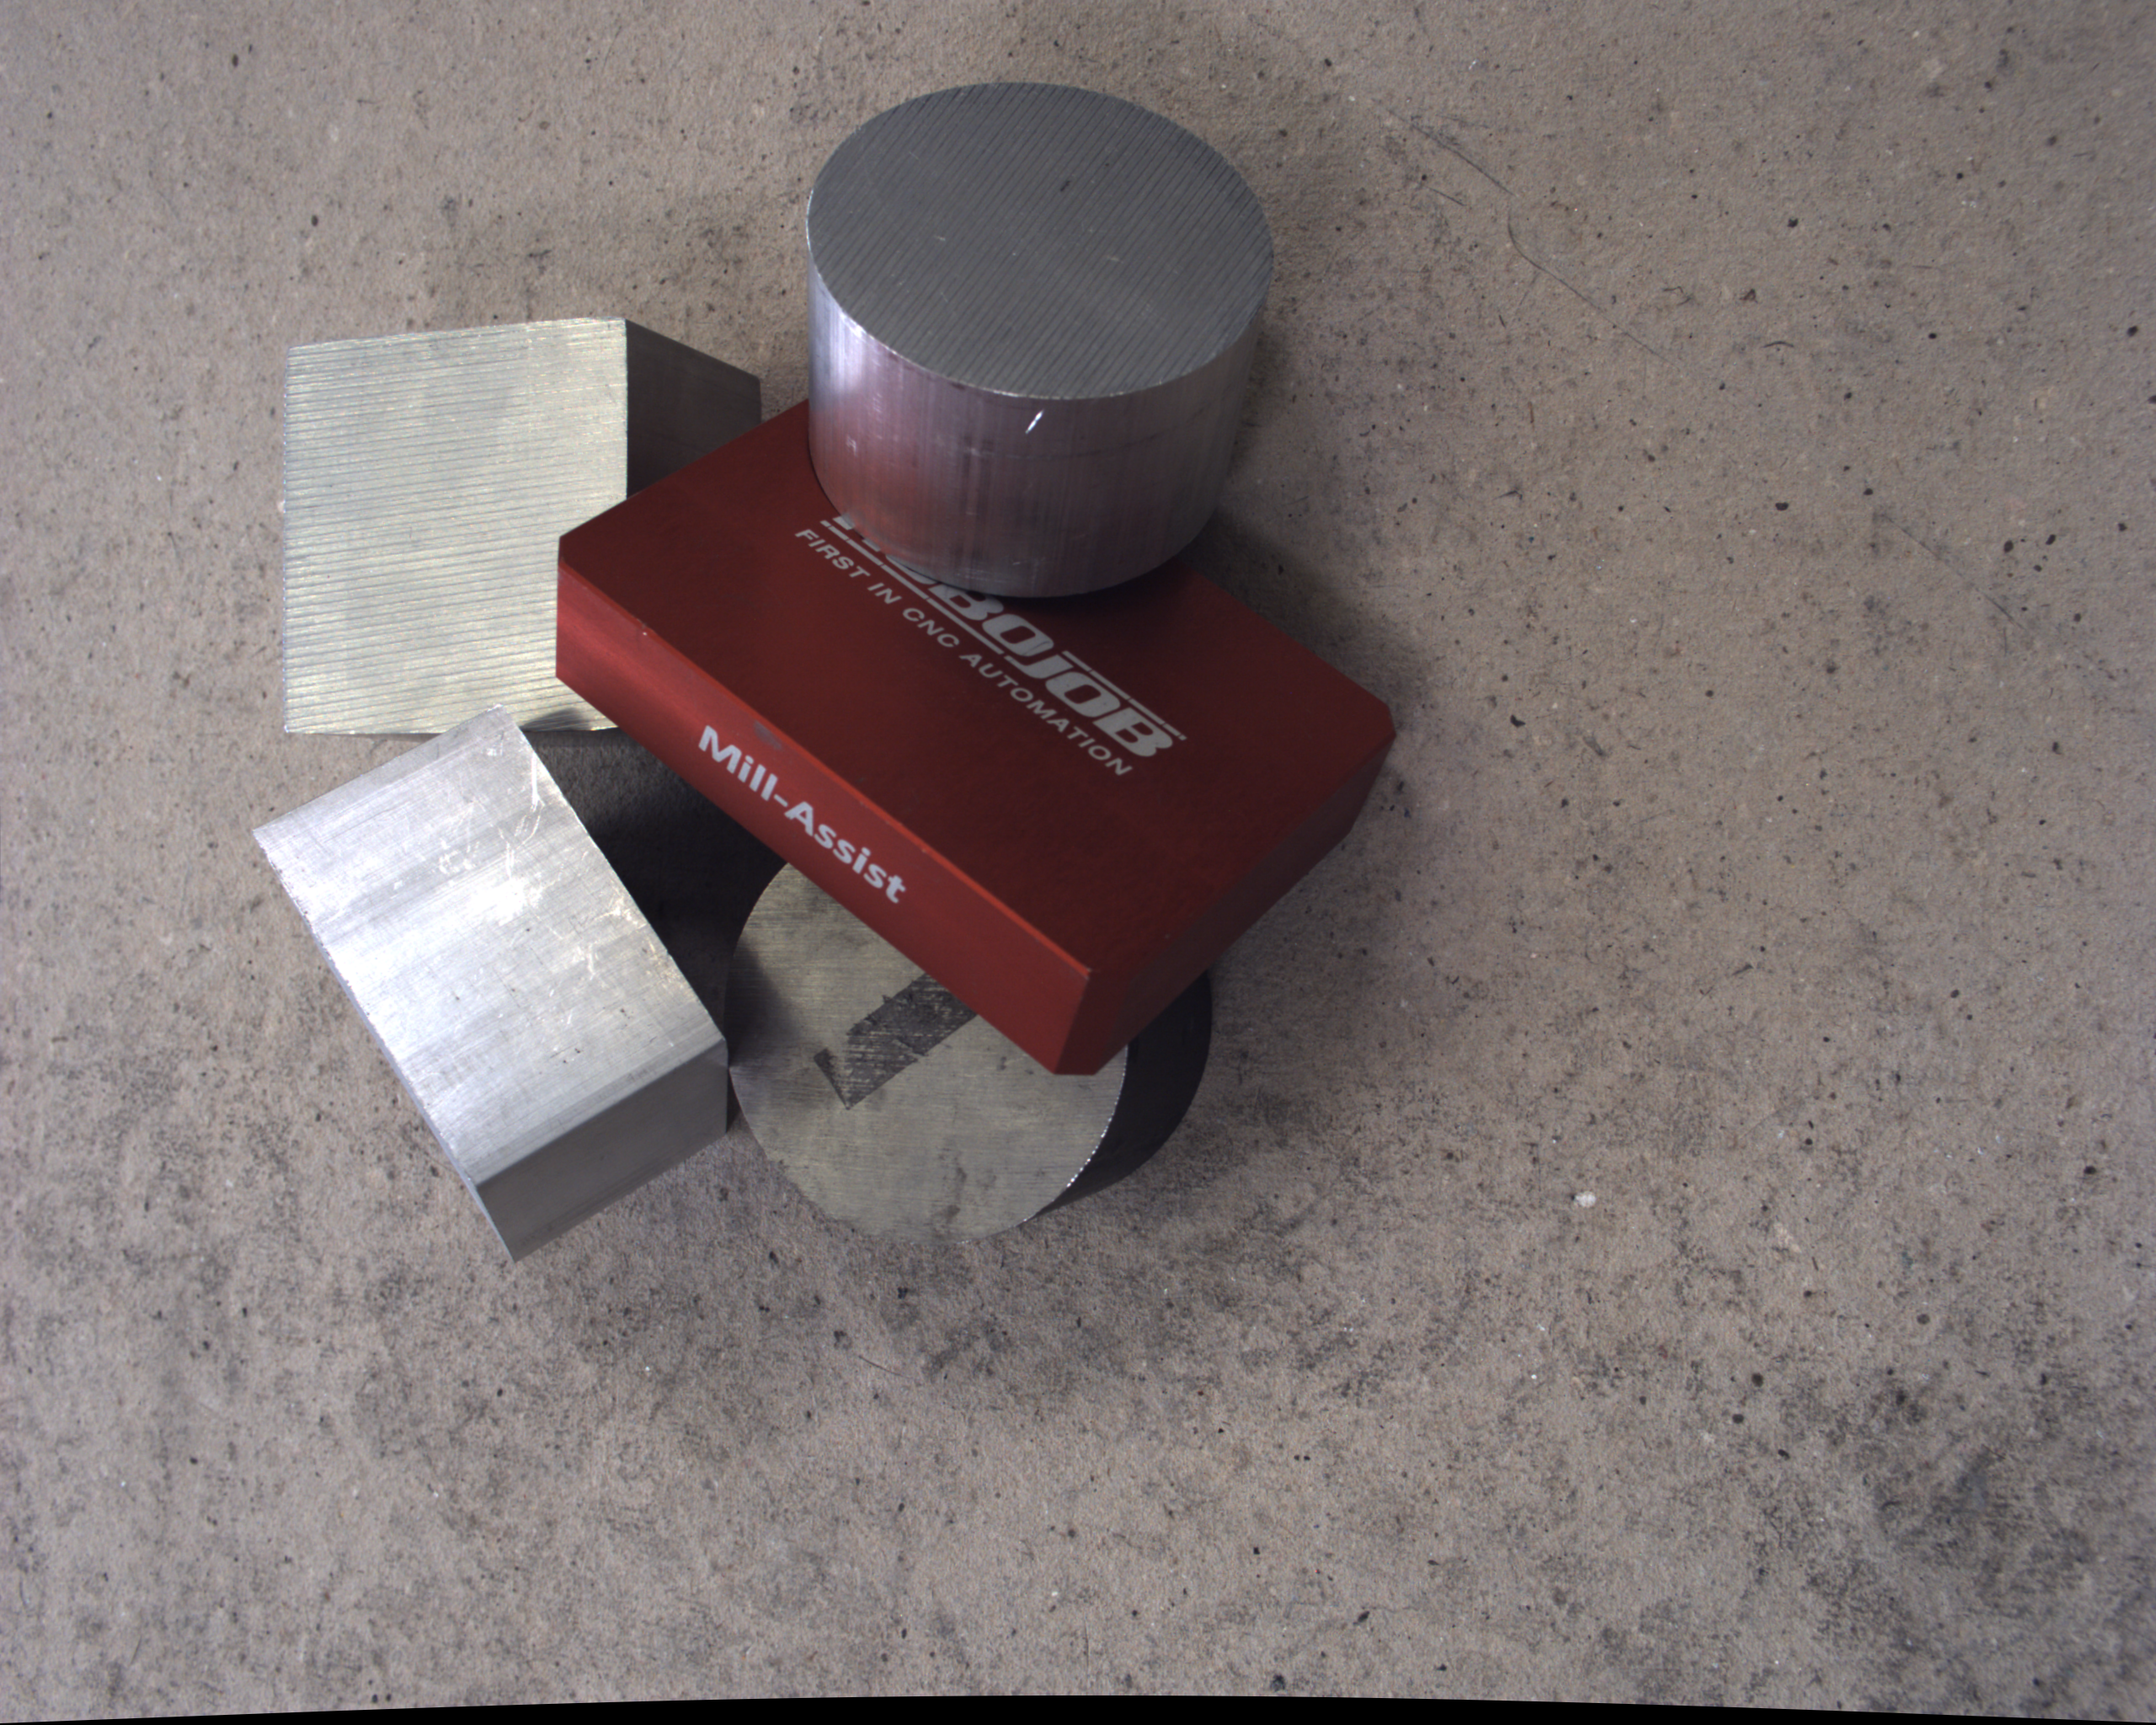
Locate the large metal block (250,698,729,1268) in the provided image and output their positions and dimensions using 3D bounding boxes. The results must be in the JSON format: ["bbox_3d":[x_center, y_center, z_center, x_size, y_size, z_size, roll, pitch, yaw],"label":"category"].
[{"bbox_3d":[-0.113,0.027,0.413,0.050,0.080,0.080,-32,78,-19],"label":"large metal block"}]

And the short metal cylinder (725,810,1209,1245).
[{"bbox_3d":[-0.020,0.030,0.405,0.080,0.050,0.080,0,90,20],"label":"short metal cylinder"}]

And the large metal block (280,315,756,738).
[{"bbox_3d":[-0.116,-0.066,0.436,0.080,0.050,0.080,1,90,20],"label":"large metal block"}]

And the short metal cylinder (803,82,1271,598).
[{"bbox_3d":[-0.009,-0.095,0.379,0.081,0.050,0.080,3,57,-5],"label":"short metal cylinder"}]

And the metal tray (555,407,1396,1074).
[{"bbox_3d":[-0.020,-0.032,0.384,0.130,0.091,0.030,37,142,16],"label":"metal tray"}]
